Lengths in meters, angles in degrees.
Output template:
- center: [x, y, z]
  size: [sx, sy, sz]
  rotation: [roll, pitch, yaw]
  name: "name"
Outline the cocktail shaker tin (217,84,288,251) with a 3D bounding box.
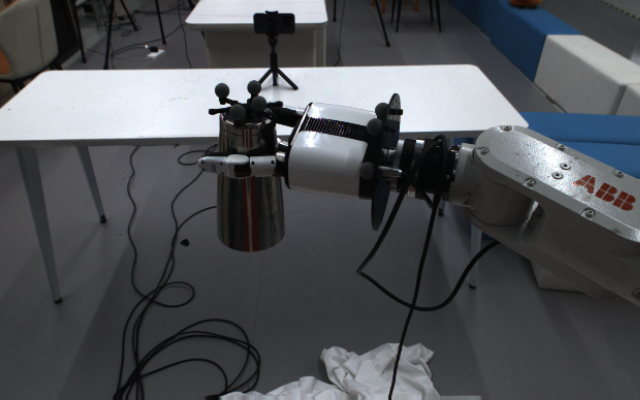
- center: [-0.087, -0.033, 0.617]
  size: [0.093, 0.170, 0.093]
  rotation: [2, 33, -1]
  name: "cocktail shaker tin"
